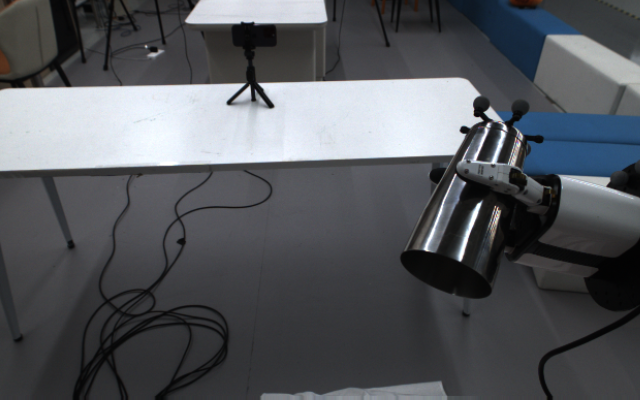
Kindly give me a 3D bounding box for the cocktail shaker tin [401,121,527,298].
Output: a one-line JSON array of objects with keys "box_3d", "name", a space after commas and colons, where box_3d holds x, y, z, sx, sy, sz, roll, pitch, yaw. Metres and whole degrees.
[{"box_3d": [0.160, 0.000, 0.500, 0.093, 0.093, 0.170, 18, 67, 22], "name": "cocktail shaker tin"}]
